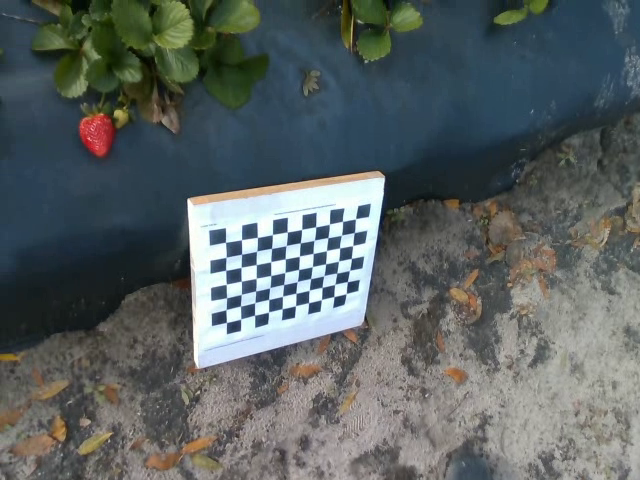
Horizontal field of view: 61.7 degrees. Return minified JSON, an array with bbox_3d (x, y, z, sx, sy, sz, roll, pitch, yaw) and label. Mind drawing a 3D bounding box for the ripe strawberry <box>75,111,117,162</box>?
[{"bbox_3d":[-0.264,-0.124,0.639,0.045,0.058,0.050,-7,-18,-26],"label":"ripe strawberry"}]
